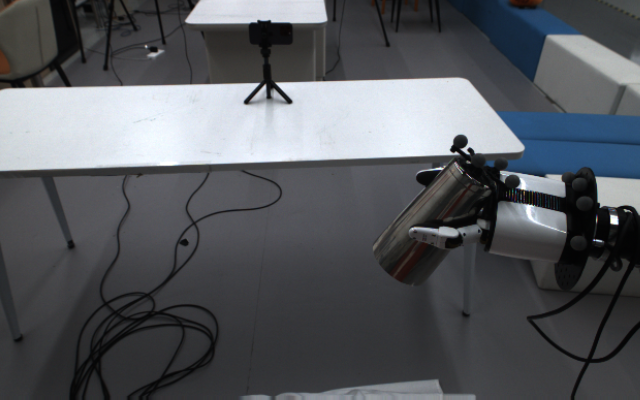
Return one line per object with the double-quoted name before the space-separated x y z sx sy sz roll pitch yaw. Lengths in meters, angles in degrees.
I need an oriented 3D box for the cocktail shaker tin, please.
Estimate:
"cocktail shaker tin" 0.156 0.021 0.655 0.093 0.170 0.093 26 32 -18
